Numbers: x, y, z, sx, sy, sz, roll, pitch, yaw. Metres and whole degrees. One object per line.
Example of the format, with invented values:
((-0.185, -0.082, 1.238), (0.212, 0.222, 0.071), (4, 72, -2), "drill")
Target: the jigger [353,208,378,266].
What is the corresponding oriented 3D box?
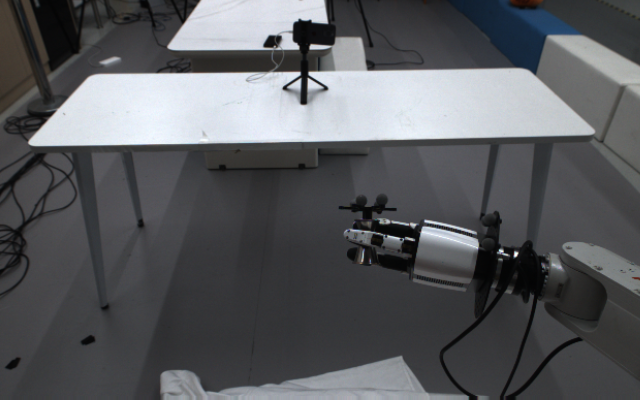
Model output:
((0.072, 0.064, 0.746), (0.043, 0.071, 0.043), (1, -6, 0), "jigger")
